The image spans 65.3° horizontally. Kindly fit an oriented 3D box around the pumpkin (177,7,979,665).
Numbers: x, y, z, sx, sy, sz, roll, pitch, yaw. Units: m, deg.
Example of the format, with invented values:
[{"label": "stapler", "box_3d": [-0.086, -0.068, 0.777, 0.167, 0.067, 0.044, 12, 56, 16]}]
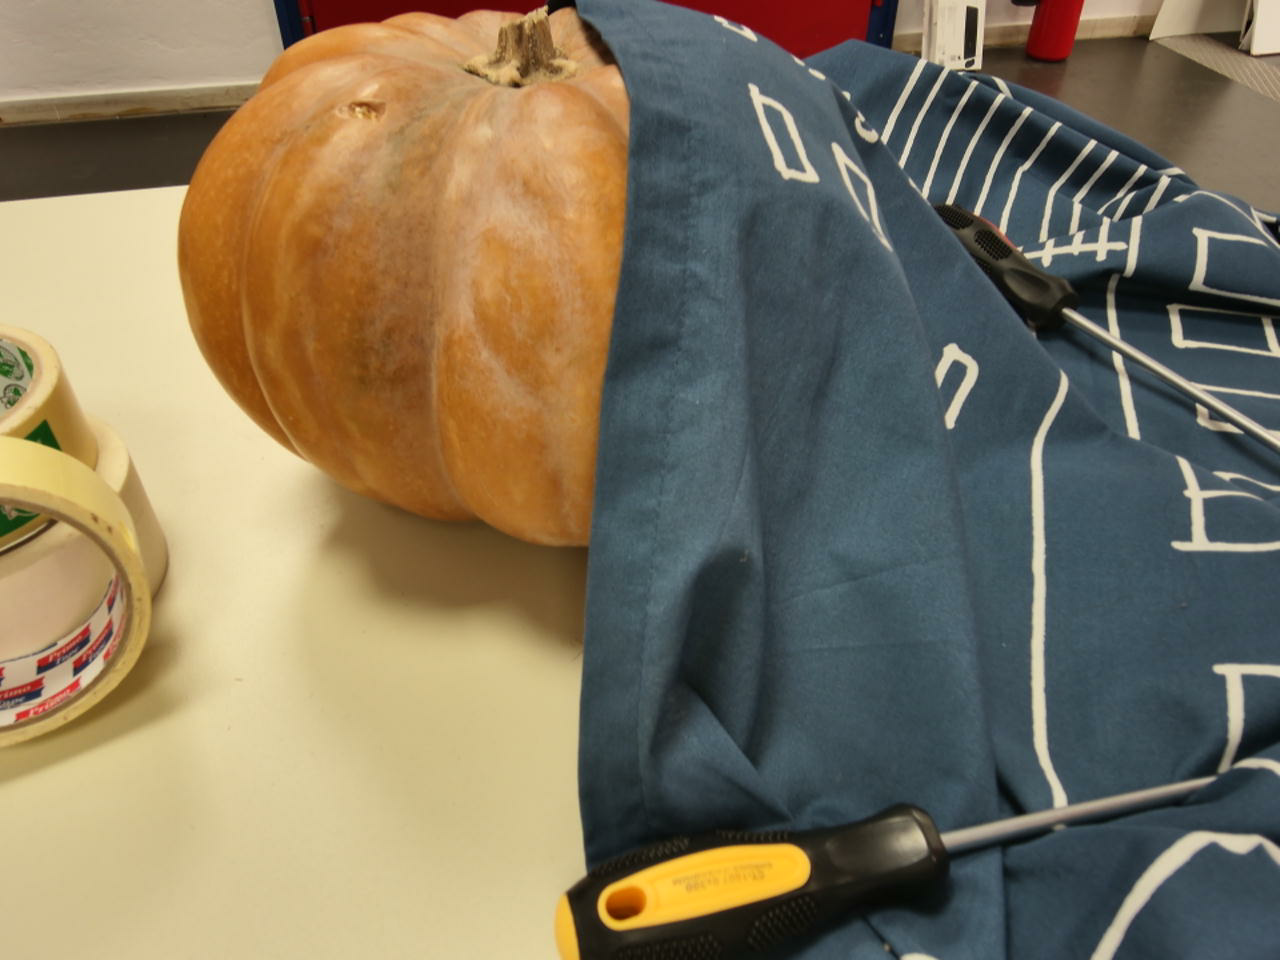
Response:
[{"label": "pumpkin", "box_3d": [-0.041, -0.091, 0.405, 0.277, 0.181, 0.277, 0, 39, 0]}]
